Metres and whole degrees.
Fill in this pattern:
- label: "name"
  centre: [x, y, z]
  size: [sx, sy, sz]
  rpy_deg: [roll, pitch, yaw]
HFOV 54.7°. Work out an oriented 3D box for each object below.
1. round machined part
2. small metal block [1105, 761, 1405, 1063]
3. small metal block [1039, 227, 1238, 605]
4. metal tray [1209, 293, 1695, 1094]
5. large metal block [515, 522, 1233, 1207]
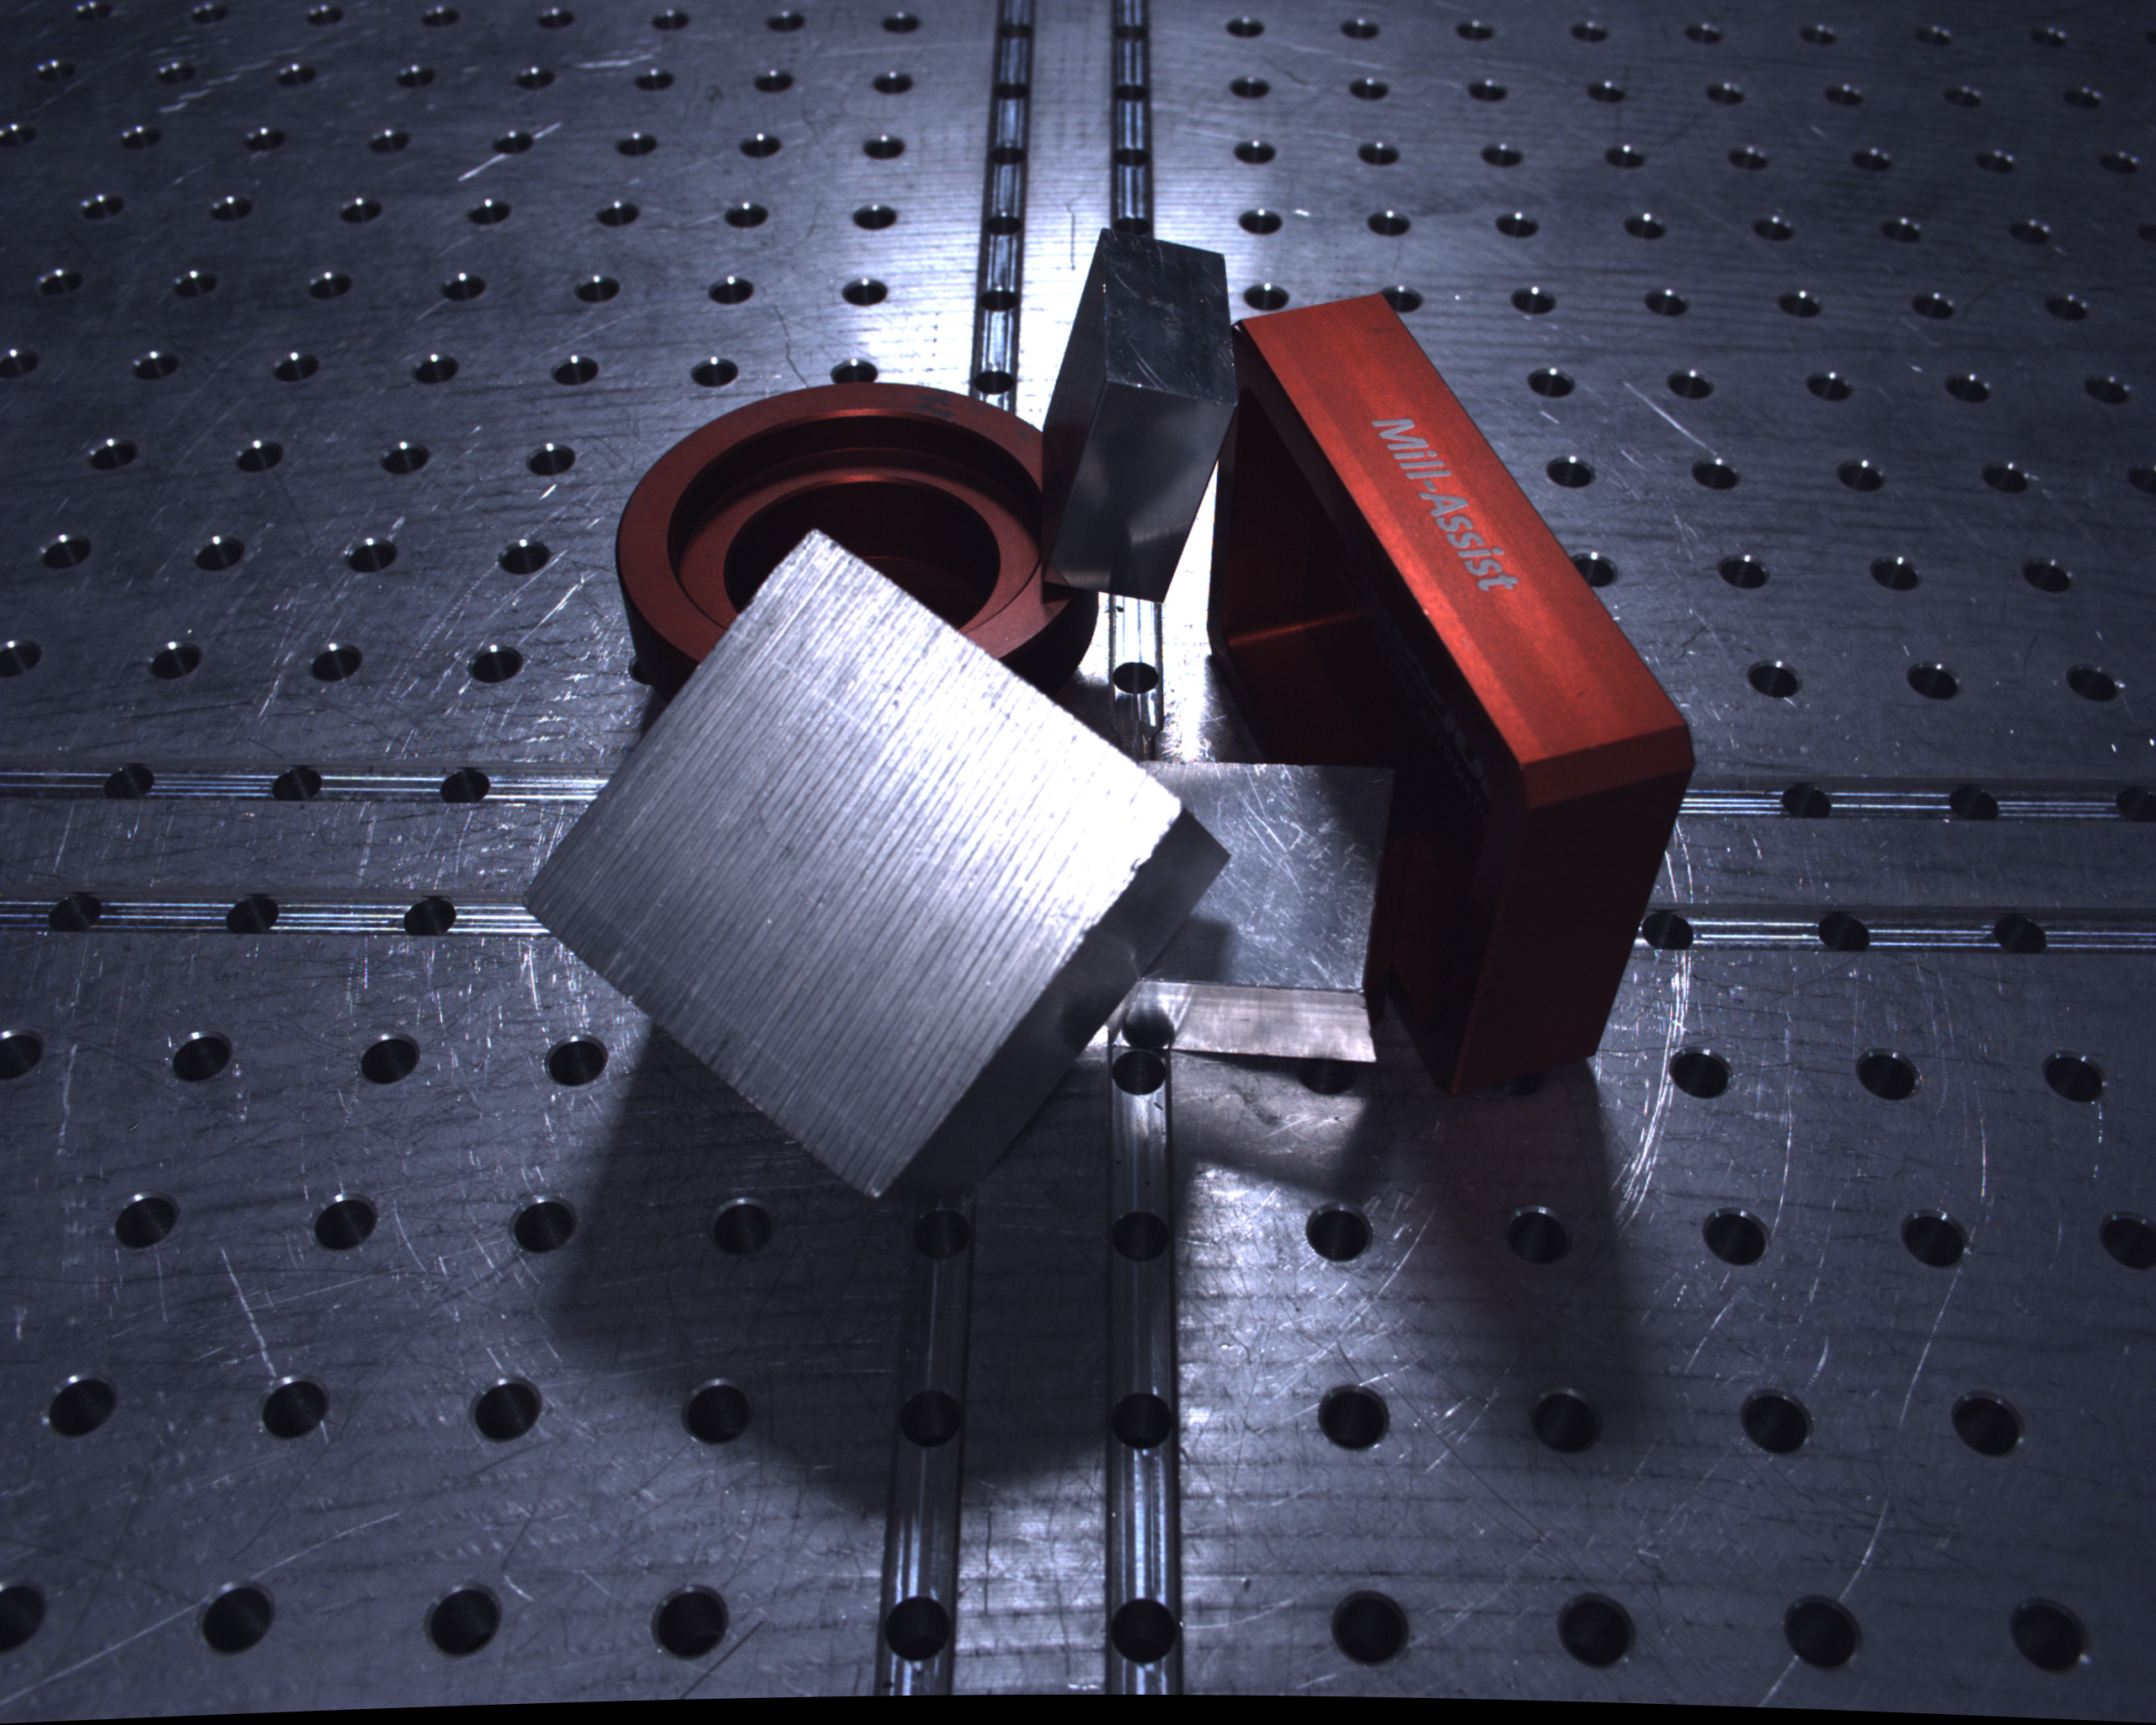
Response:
- label: "round machined part"
  centre: [-0.045, -0.055, 0.442]
  size: [0.099, 0.042, 0.098]
  rpy_deg: [0, 50, 0]
- label: "small metal block"
  centre: [0.034, 0.009, 0.394]
  size: [0.050, 0.025, 0.050]
  rpy_deg: [2, 54, 16]
- label: "small metal block"
  centre: [0.011, -0.088, 0.412]
  size: [0.025, 0.050, 0.050]
  rpy_deg: [9, 48, -11]
- label: "metal tray"
  centre: [0.063, -0.034, 0.394]
  size: [0.030, 0.089, 0.130]
  rpy_deg: [-14, 52, -12]
- label: "large metal block"
  centre: [-0.033, 0.002, 0.360]
  size: [0.080, 0.050, 0.080]
  rpy_deg: [38, 90, 14]
